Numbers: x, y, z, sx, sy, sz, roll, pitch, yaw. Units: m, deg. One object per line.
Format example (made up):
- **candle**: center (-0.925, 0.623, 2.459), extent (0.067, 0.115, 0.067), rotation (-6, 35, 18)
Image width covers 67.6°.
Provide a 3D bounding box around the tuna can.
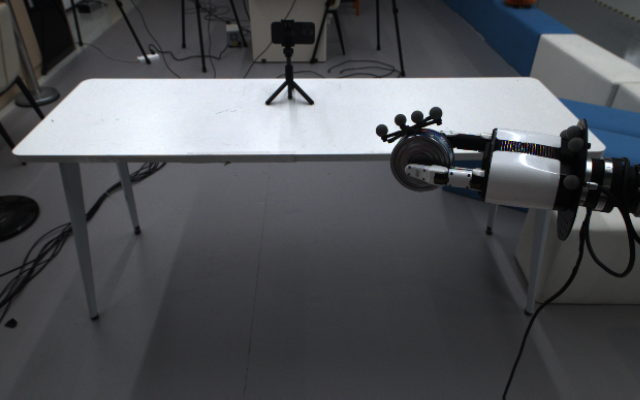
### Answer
- **tuna can**: center (0.145, -0.057, 0.684), extent (0.085, 0.085, 0.034), rotation (15, 29, 17)
